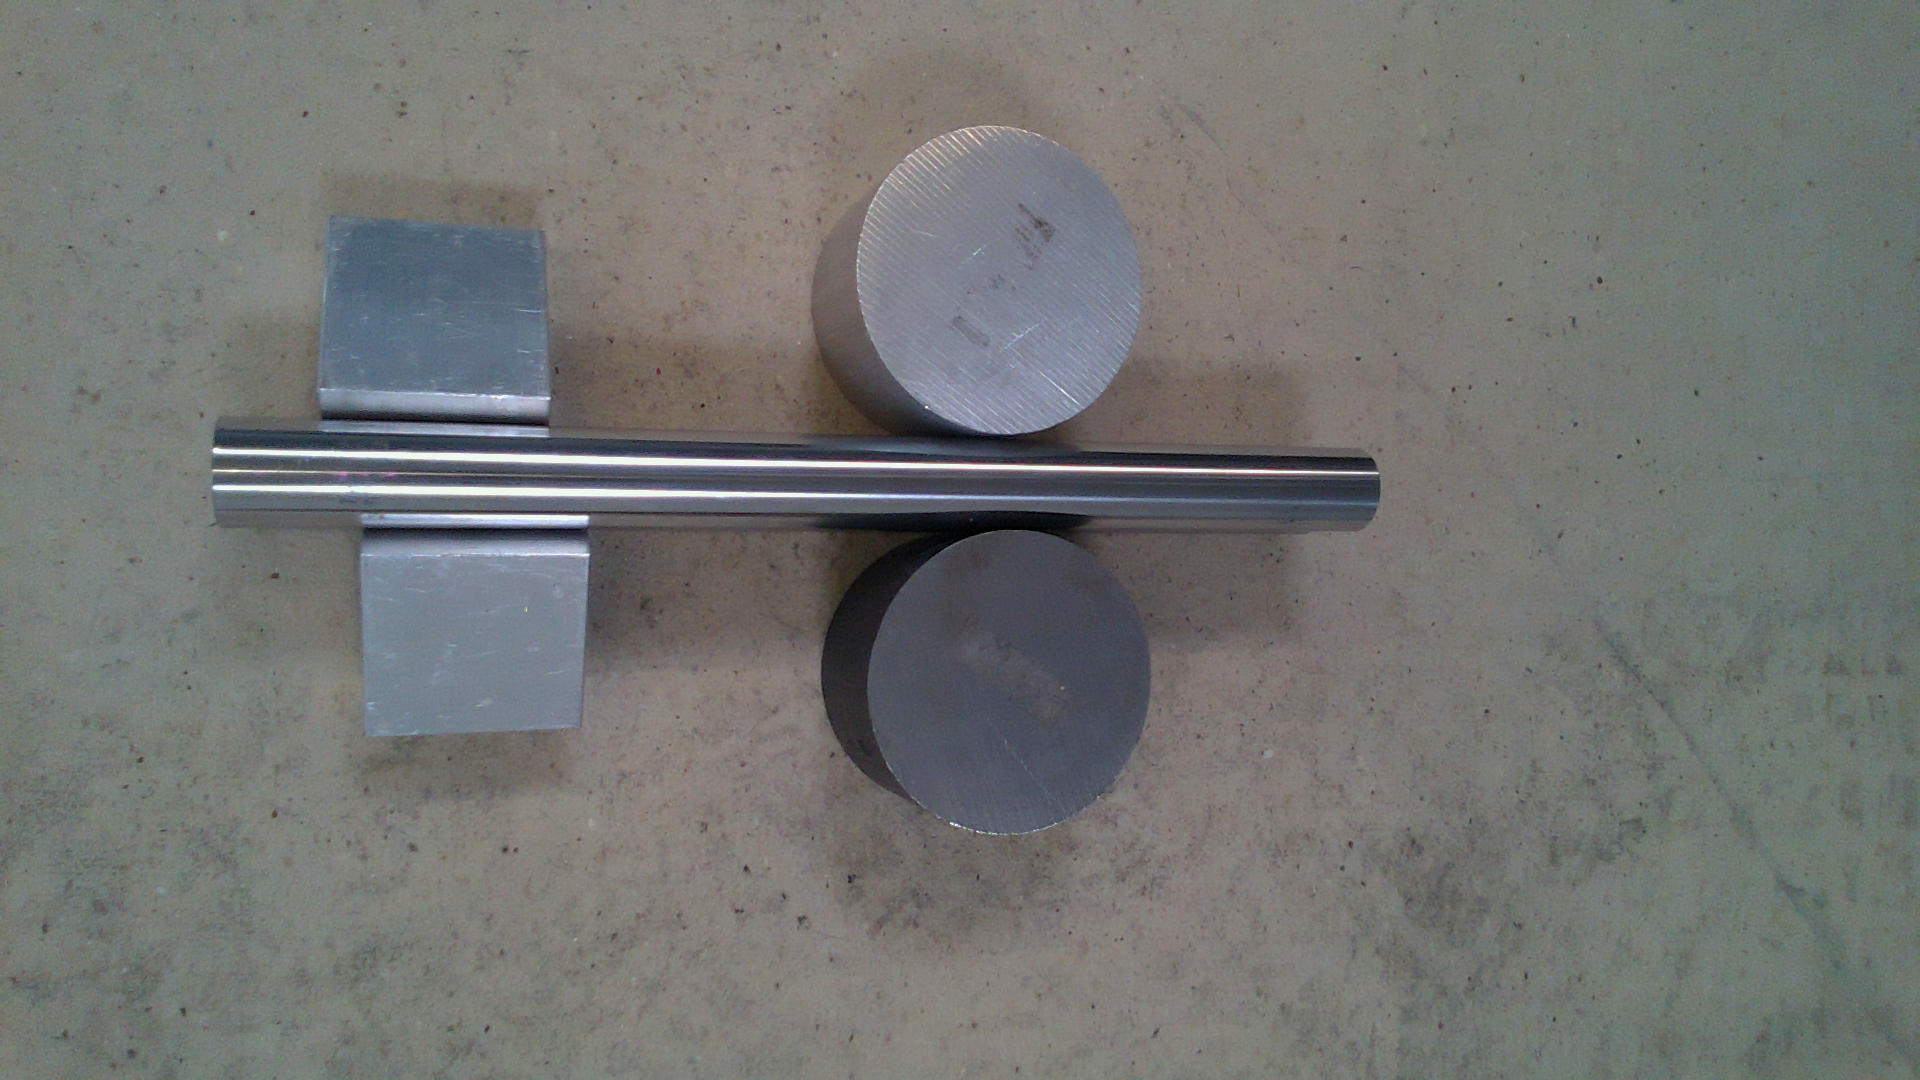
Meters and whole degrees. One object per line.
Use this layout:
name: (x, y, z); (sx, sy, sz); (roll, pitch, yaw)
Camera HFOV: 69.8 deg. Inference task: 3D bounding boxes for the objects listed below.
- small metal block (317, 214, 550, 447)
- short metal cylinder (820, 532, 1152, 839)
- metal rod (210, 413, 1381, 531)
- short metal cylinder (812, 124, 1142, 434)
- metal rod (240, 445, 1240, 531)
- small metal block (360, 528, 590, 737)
small metal block: (-0.128, -0.050, 0.337); (0.050, 0.025, 0.050); (0, 63, -20)
short metal cylinder: (0.006, 0.038, 0.382); (0.080, 0.050, 0.080); (0, 90, -20)
metal rod: (-0.024, -0.016, 0.358); (0.301, 0.025, 0.025); (0, 90, -20)
short metal cylinder: (0.003, -0.068, 0.381); (0.080, 0.050, 0.080); (0, 90, -20)
metal rod: (-0.033, -0.015, 0.381); (0.301, 0.025, 0.025); (0, 90, -20)
small metal block: (-0.119, 0.020, 0.339); (0.050, 0.025, 0.050); (0, 116, -20)
